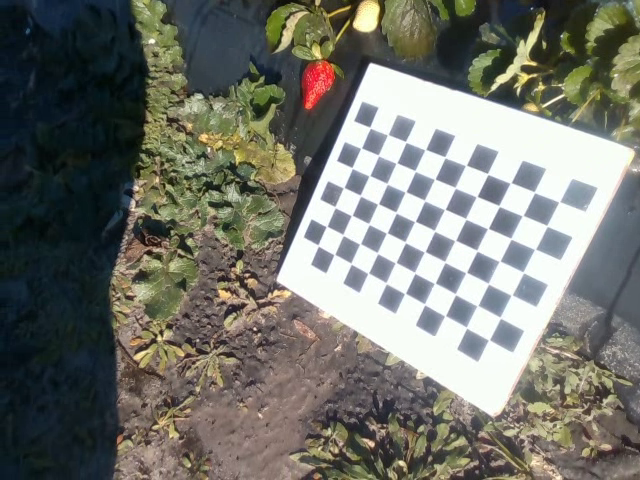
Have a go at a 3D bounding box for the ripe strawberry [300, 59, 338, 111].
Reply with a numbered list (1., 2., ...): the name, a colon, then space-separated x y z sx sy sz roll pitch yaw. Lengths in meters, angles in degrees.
1. ripe strawberry: -0.006 -0.180 0.722 0.048 0.069 0.040 7 -8 34
